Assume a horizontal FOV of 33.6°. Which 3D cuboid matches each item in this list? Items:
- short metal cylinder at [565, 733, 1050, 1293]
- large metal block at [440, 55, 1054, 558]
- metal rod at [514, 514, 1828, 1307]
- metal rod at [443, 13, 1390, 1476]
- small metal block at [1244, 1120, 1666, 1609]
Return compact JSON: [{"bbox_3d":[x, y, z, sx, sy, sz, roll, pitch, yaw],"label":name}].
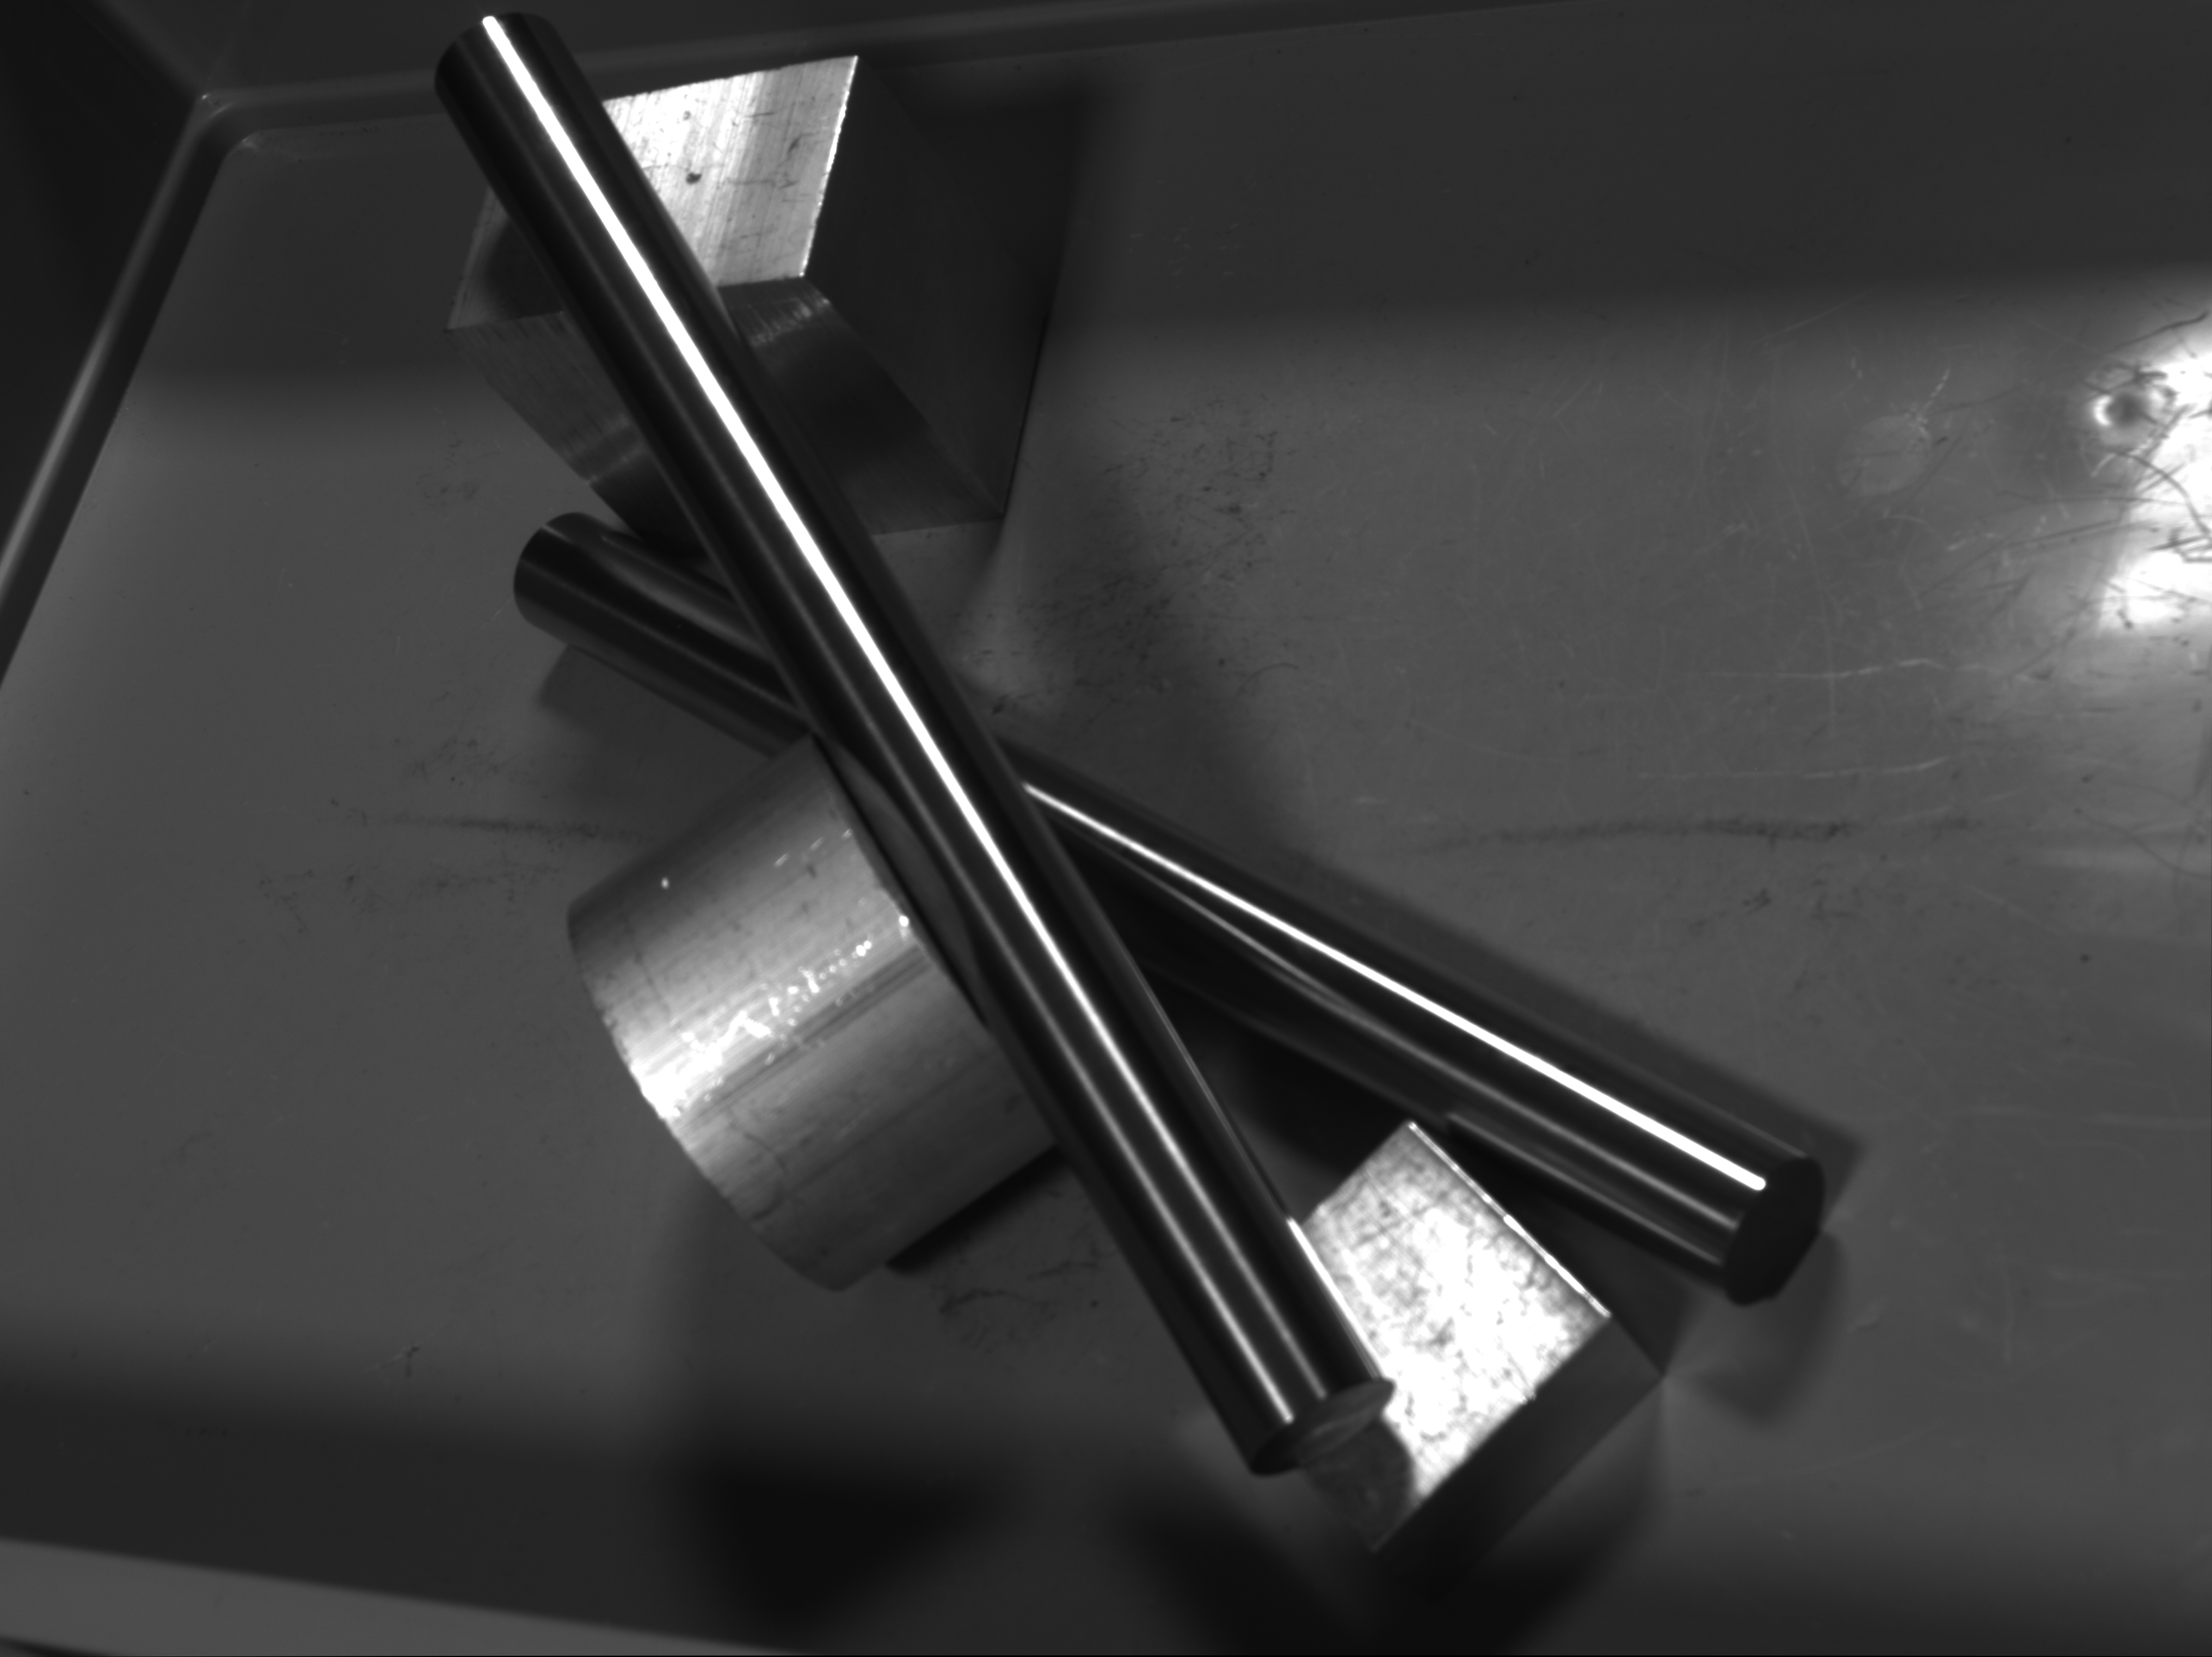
[{"bbox_3d":[-0.046,0.030,0.612,0.050,0.080,0.080,-35,51,6],"label":"short metal cylinder"},{"bbox_3d":[-0.067,-0.098,0.705,0.080,0.080,0.050,-4,60,27],"label":"large metal block"},{"bbox_3d":[-0.004,0.005,0.642,0.299,0.025,0.025,28,77,37],"label":"metal rod"},{"bbox_3d":[-0.040,-0.026,0.605,0.025,0.025,0.299,-34,63,6],"label":"metal rod"},{"bbox_3d":[0.049,0.082,0.566,0.050,0.025,0.050,-44,51,-2],"label":"small metal block"}]
